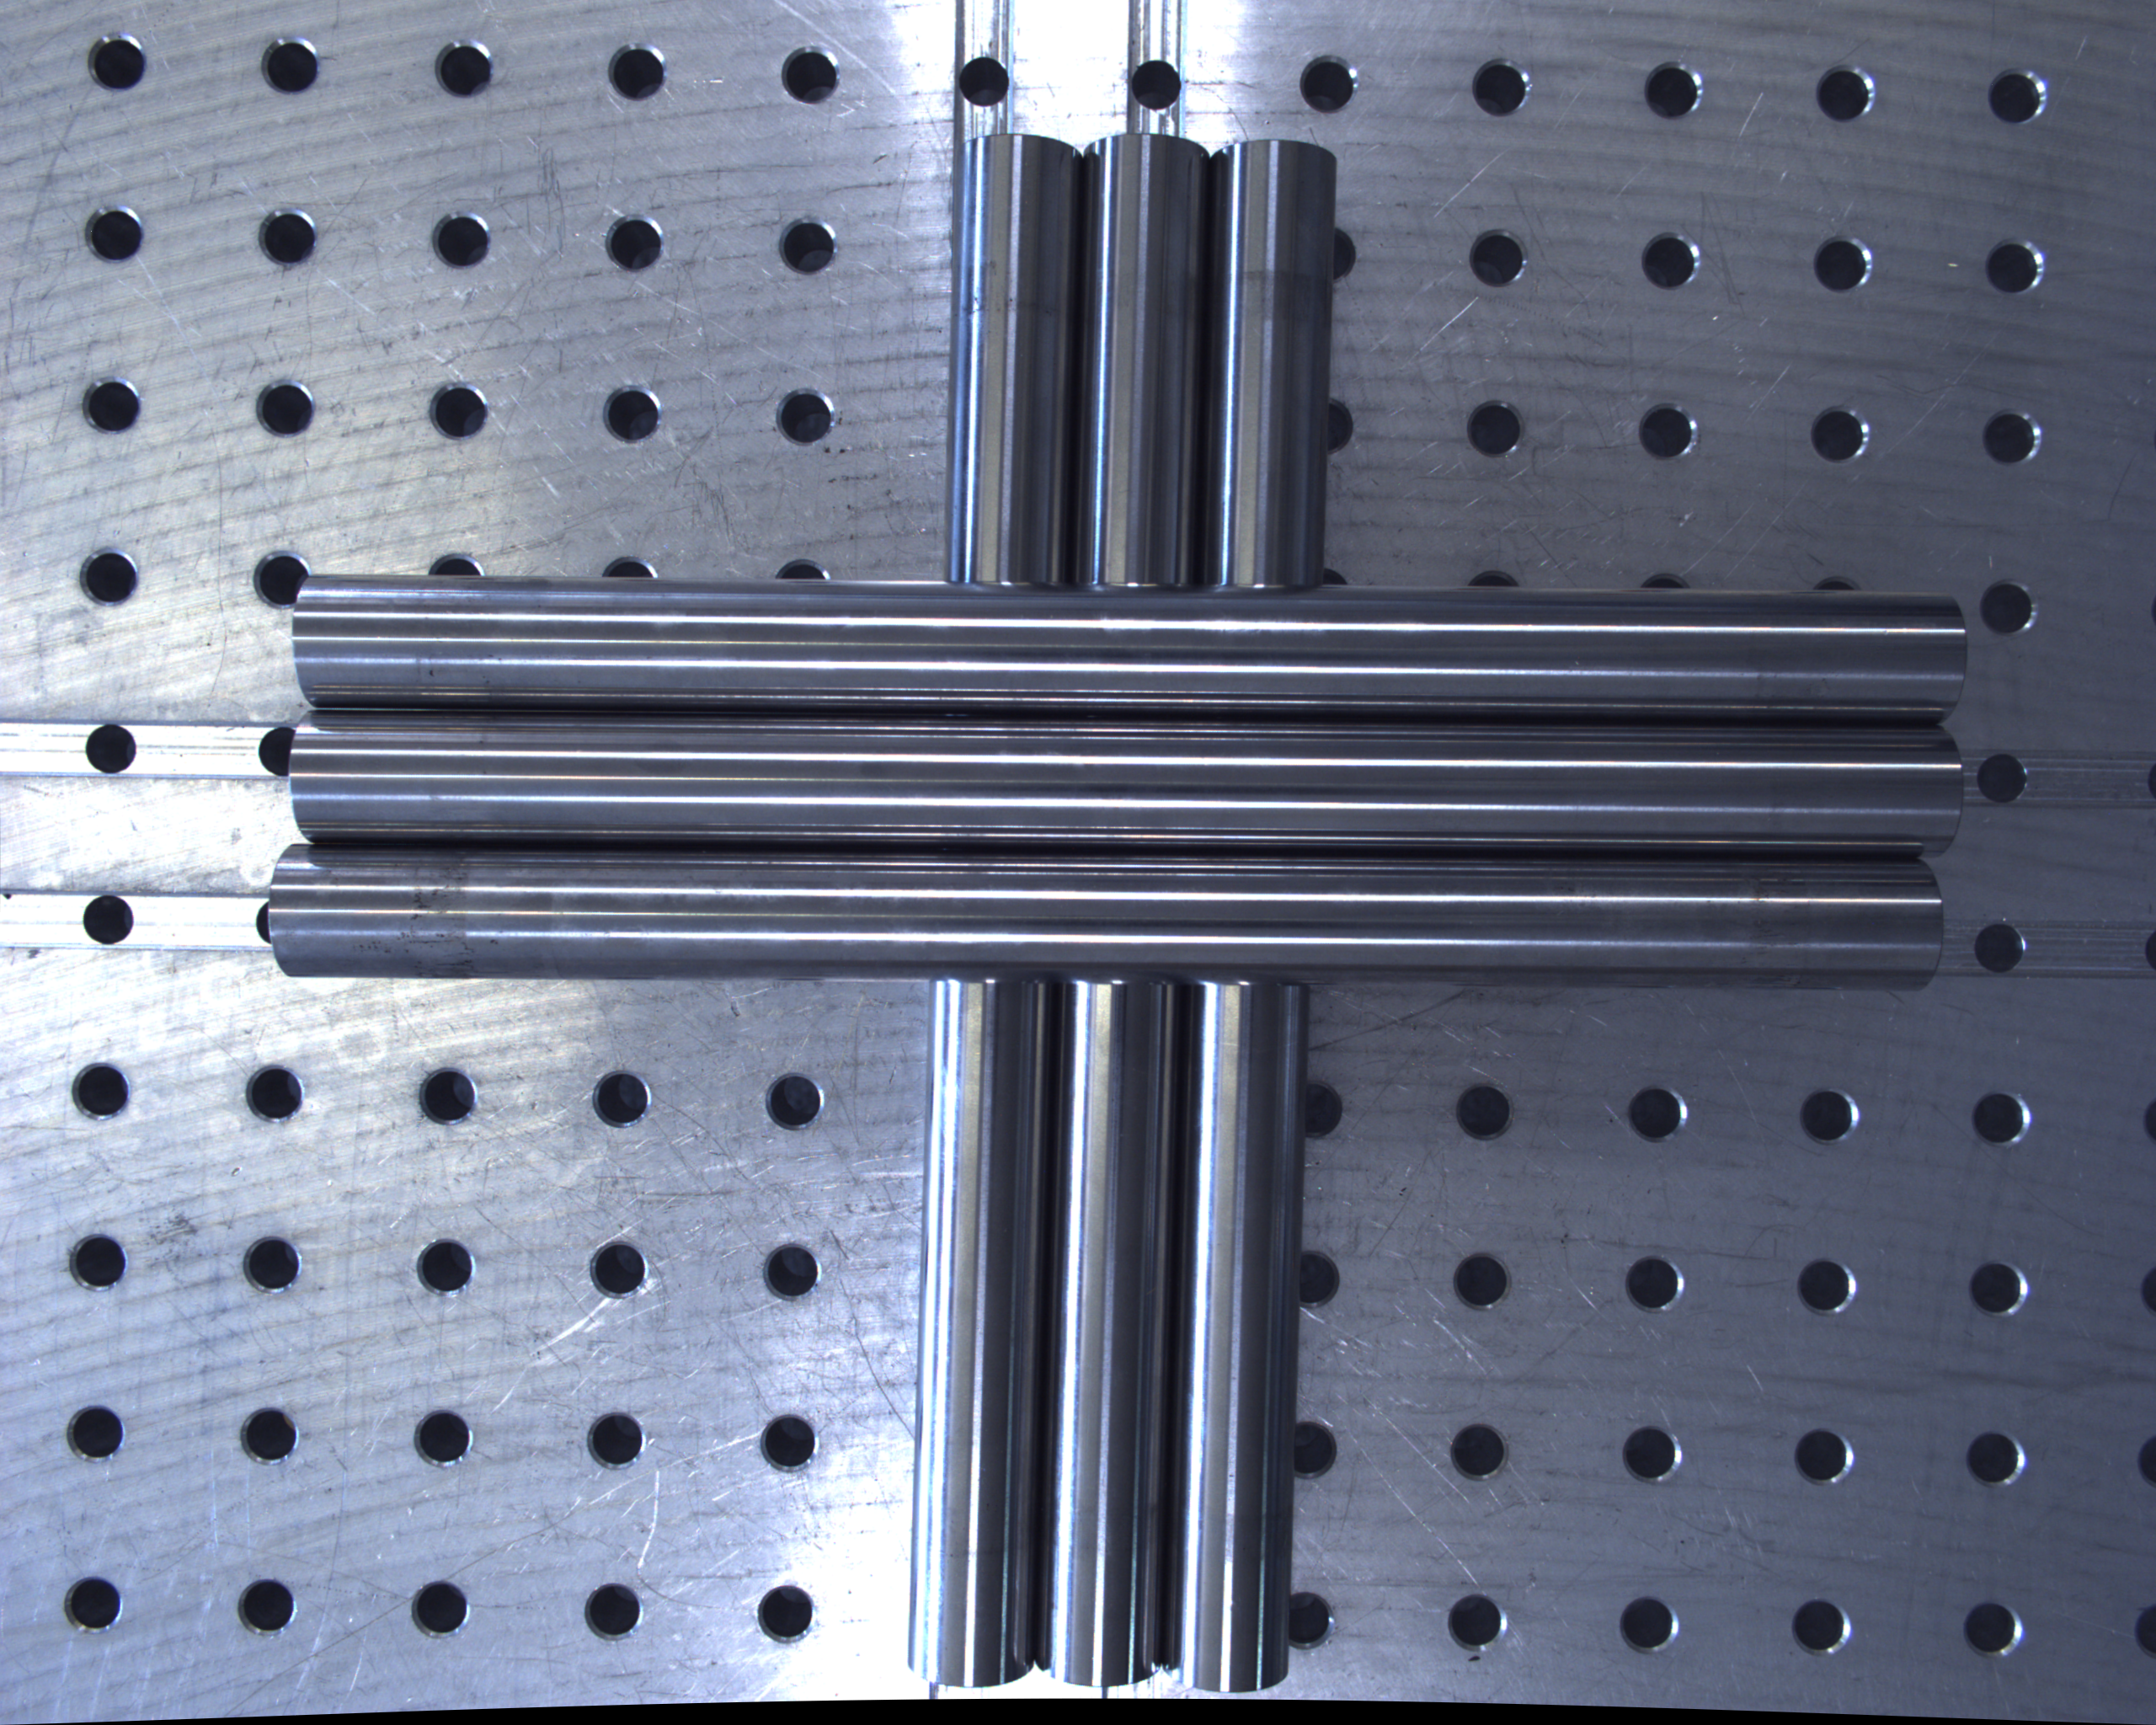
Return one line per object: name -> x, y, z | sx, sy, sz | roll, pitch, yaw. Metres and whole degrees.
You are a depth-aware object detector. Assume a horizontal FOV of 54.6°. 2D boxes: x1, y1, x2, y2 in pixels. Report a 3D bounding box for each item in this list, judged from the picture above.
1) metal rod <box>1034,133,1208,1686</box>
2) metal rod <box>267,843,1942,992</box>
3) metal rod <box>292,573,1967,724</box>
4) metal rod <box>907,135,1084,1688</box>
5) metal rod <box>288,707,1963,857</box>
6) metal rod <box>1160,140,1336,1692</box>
metal rod -> 0.008, 0.009, 0.413 | 0.025, 0.025, 0.298 | 2, 90, 0
metal rod -> 0.005, 0.010, 0.388 | 0.302, 0.025, 0.025 | 1, 90, 0
metal rod -> 0.010, -0.040, 0.388 | 0.302, 0.025, 0.025 | 1, 90, 0
metal rod -> -0.016, 0.009, 0.413 | 0.025, 0.025, 0.298 | 2, 90, 0
metal rod -> 0.009, -0.015, 0.388 | 0.302, 0.025, 0.025 | 1, 90, 0
metal rod -> 0.034, 0.010, 0.414 | 0.025, 0.025, 0.298 | 2, 90, 0
